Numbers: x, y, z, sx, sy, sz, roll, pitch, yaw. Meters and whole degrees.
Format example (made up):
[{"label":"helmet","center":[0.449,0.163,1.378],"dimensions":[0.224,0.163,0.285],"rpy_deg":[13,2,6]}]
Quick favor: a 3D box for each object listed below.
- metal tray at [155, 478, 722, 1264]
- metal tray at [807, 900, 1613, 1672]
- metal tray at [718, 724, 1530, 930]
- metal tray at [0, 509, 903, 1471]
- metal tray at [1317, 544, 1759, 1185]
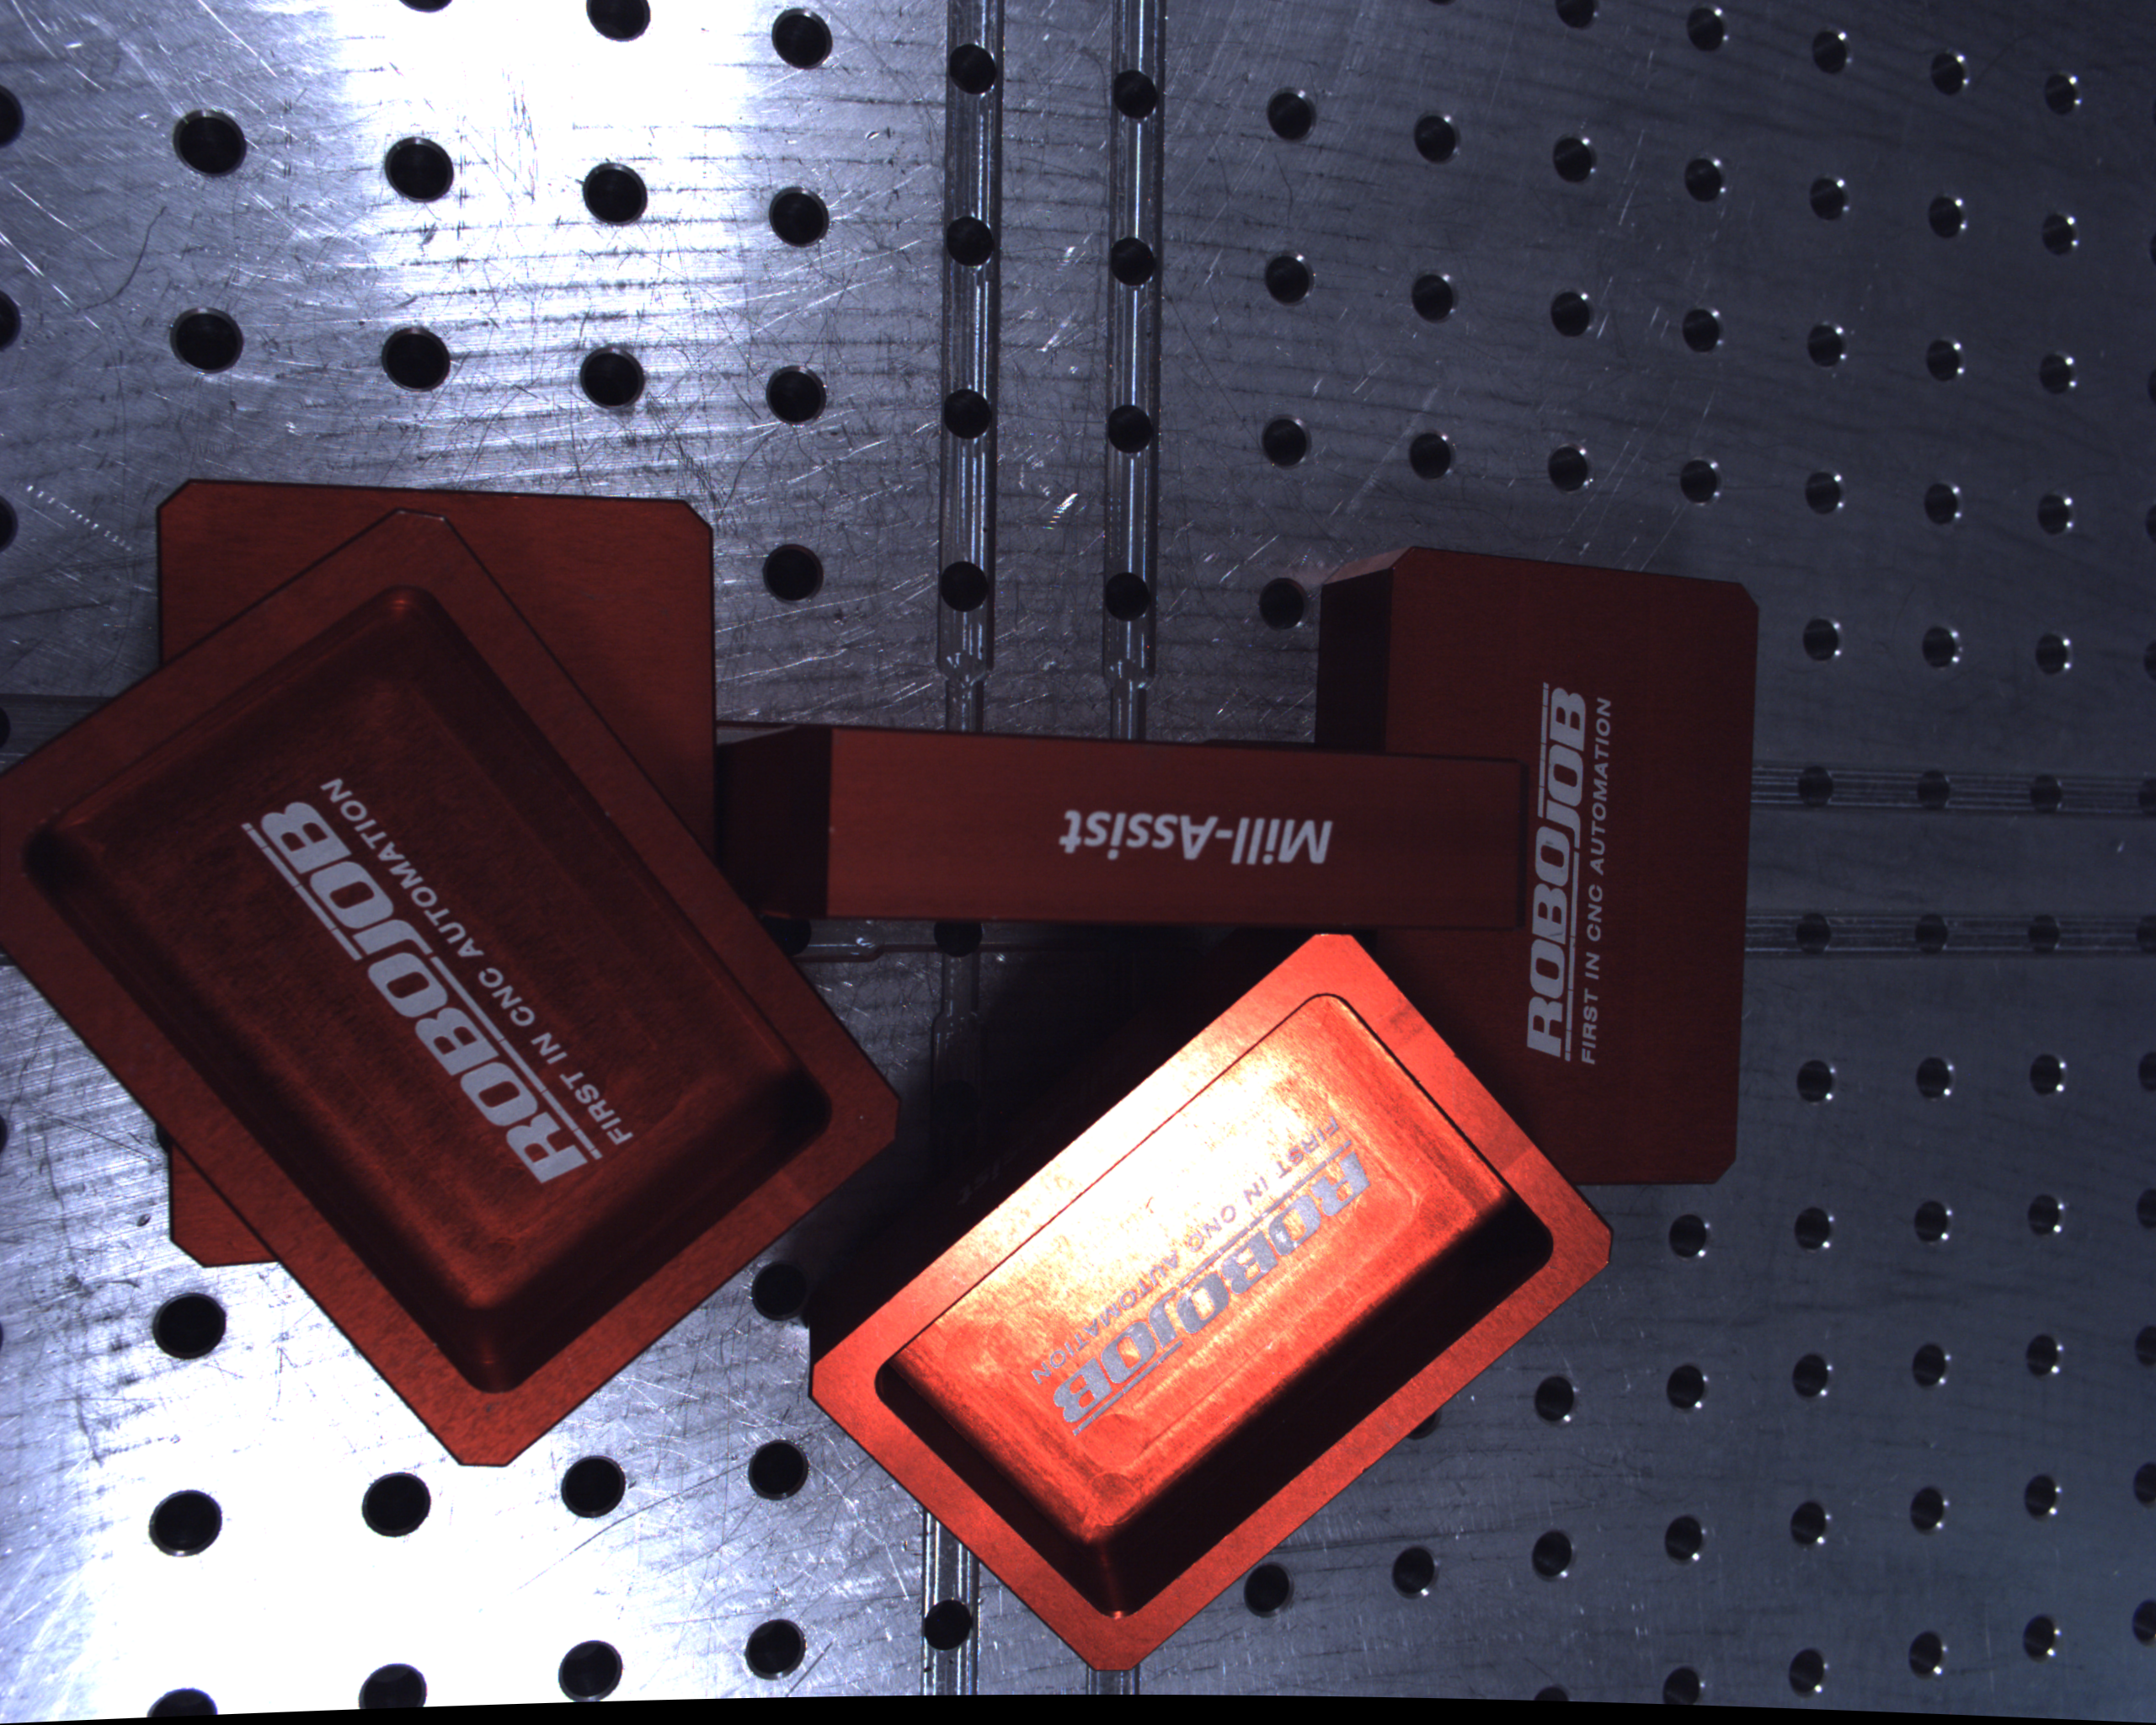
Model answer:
[{"label":"metal tray","center":[-0.112,0.001,0.369],"dimensions":[0.091,0.030,0.129],"rpy_deg":[-1,91,-20]},{"label":"metal tray","center":[0.024,0.081,0.400],"dimensions":[0.130,0.030,0.090],"rpy_deg":[-41,105,2]},{"label":"metal tray","center":[0.004,-0.005,0.379],"dimensions":[0.131,0.090,0.030],"rpy_deg":[2,90,-20]},{"label":"metal tray","center":[-0.103,0.021,0.339],"dimensions":[0.090,0.030,0.130],"rpy_deg":[-40,103,-16]},{"label":"metal tray","center":[0.097,0.002,0.446],"dimensions":[0.091,0.030,0.129],"rpy_deg":[3,89,-21]}]
